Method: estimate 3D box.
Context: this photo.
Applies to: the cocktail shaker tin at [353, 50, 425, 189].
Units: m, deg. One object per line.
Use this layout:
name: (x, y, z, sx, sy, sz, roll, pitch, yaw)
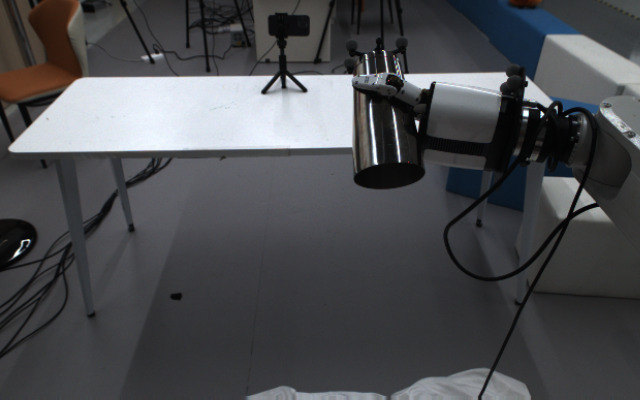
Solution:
cocktail shaker tin: (0.084, -0.110, 0.647, 0.093, 0.093, 0.170, -2, 71, -6)
